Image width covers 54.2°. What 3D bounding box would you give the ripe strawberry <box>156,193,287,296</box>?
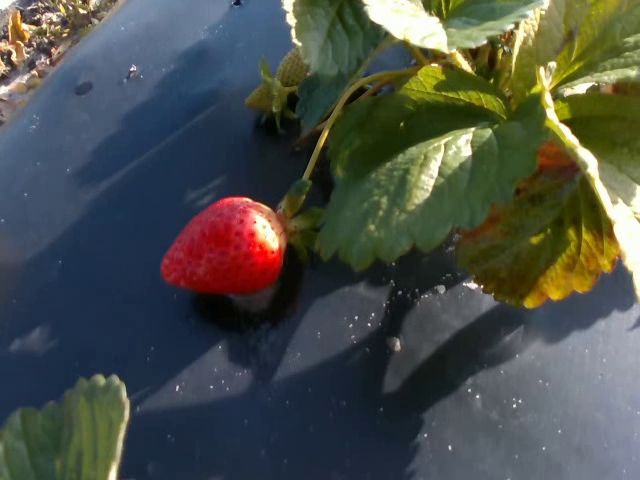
[{"bbox_3d":[-0.029,0.005,0.178,0.044,0.033,0.030,-21,13,-7],"label":"ripe strawberry"}]
